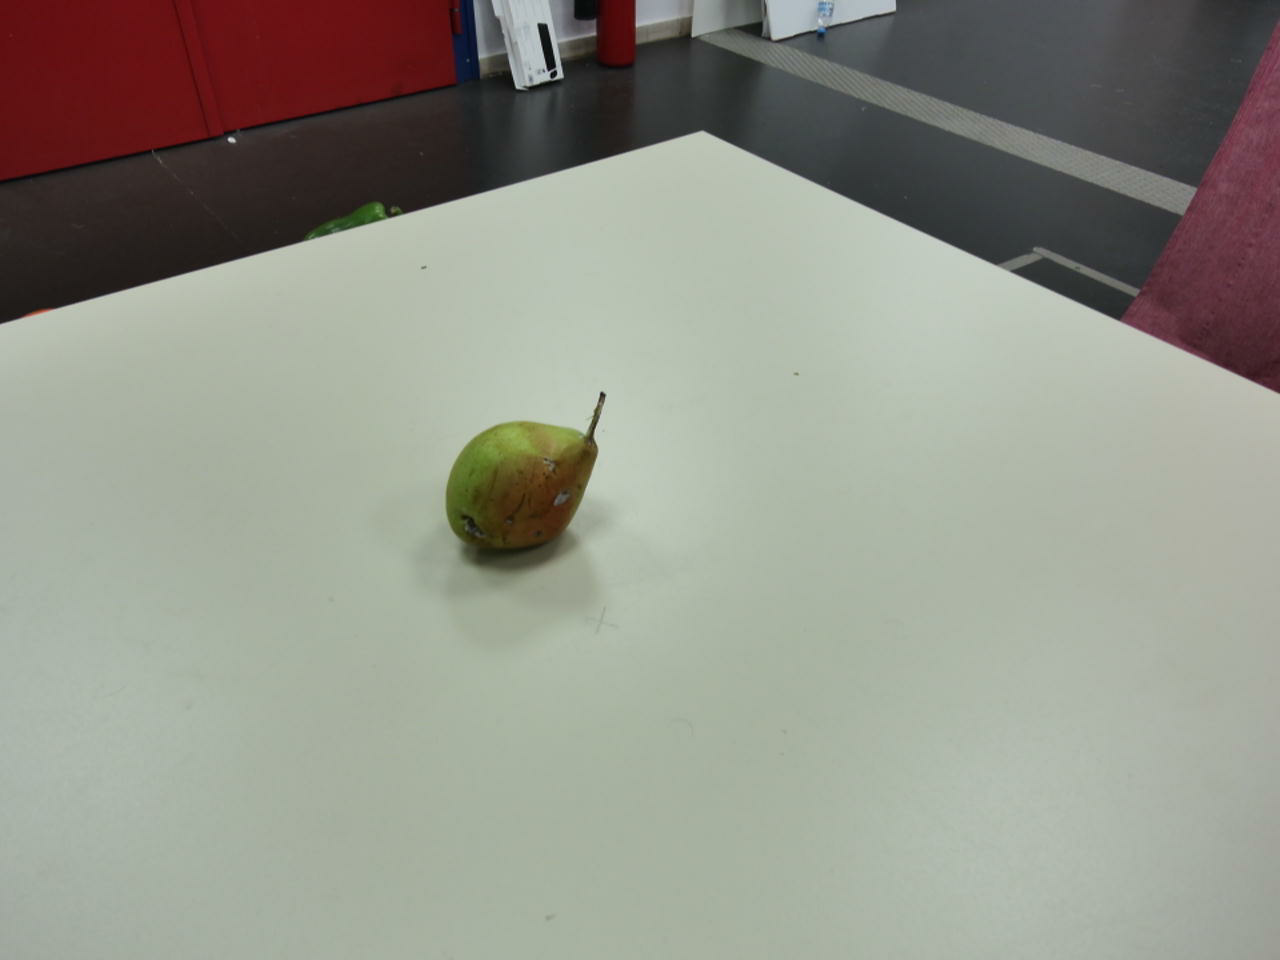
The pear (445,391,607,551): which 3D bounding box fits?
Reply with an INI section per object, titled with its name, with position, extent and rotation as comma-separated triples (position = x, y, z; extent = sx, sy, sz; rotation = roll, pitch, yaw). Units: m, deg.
[pear]
position = -0.057, 0.000, 0.487
extent = 0.070, 0.069, 0.068
rotation = 8, 39, 10
